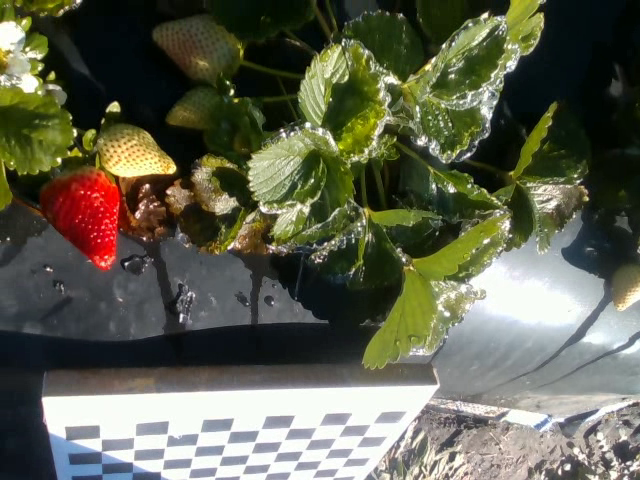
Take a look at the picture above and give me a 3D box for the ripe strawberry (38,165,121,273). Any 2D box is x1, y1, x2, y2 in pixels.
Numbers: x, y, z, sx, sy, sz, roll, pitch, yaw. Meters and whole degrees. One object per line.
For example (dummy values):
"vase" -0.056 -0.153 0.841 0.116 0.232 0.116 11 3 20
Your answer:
"ripe strawberry" -0.113 -0.009 0.284 0.040 0.053 0.042 -24 -14 8
